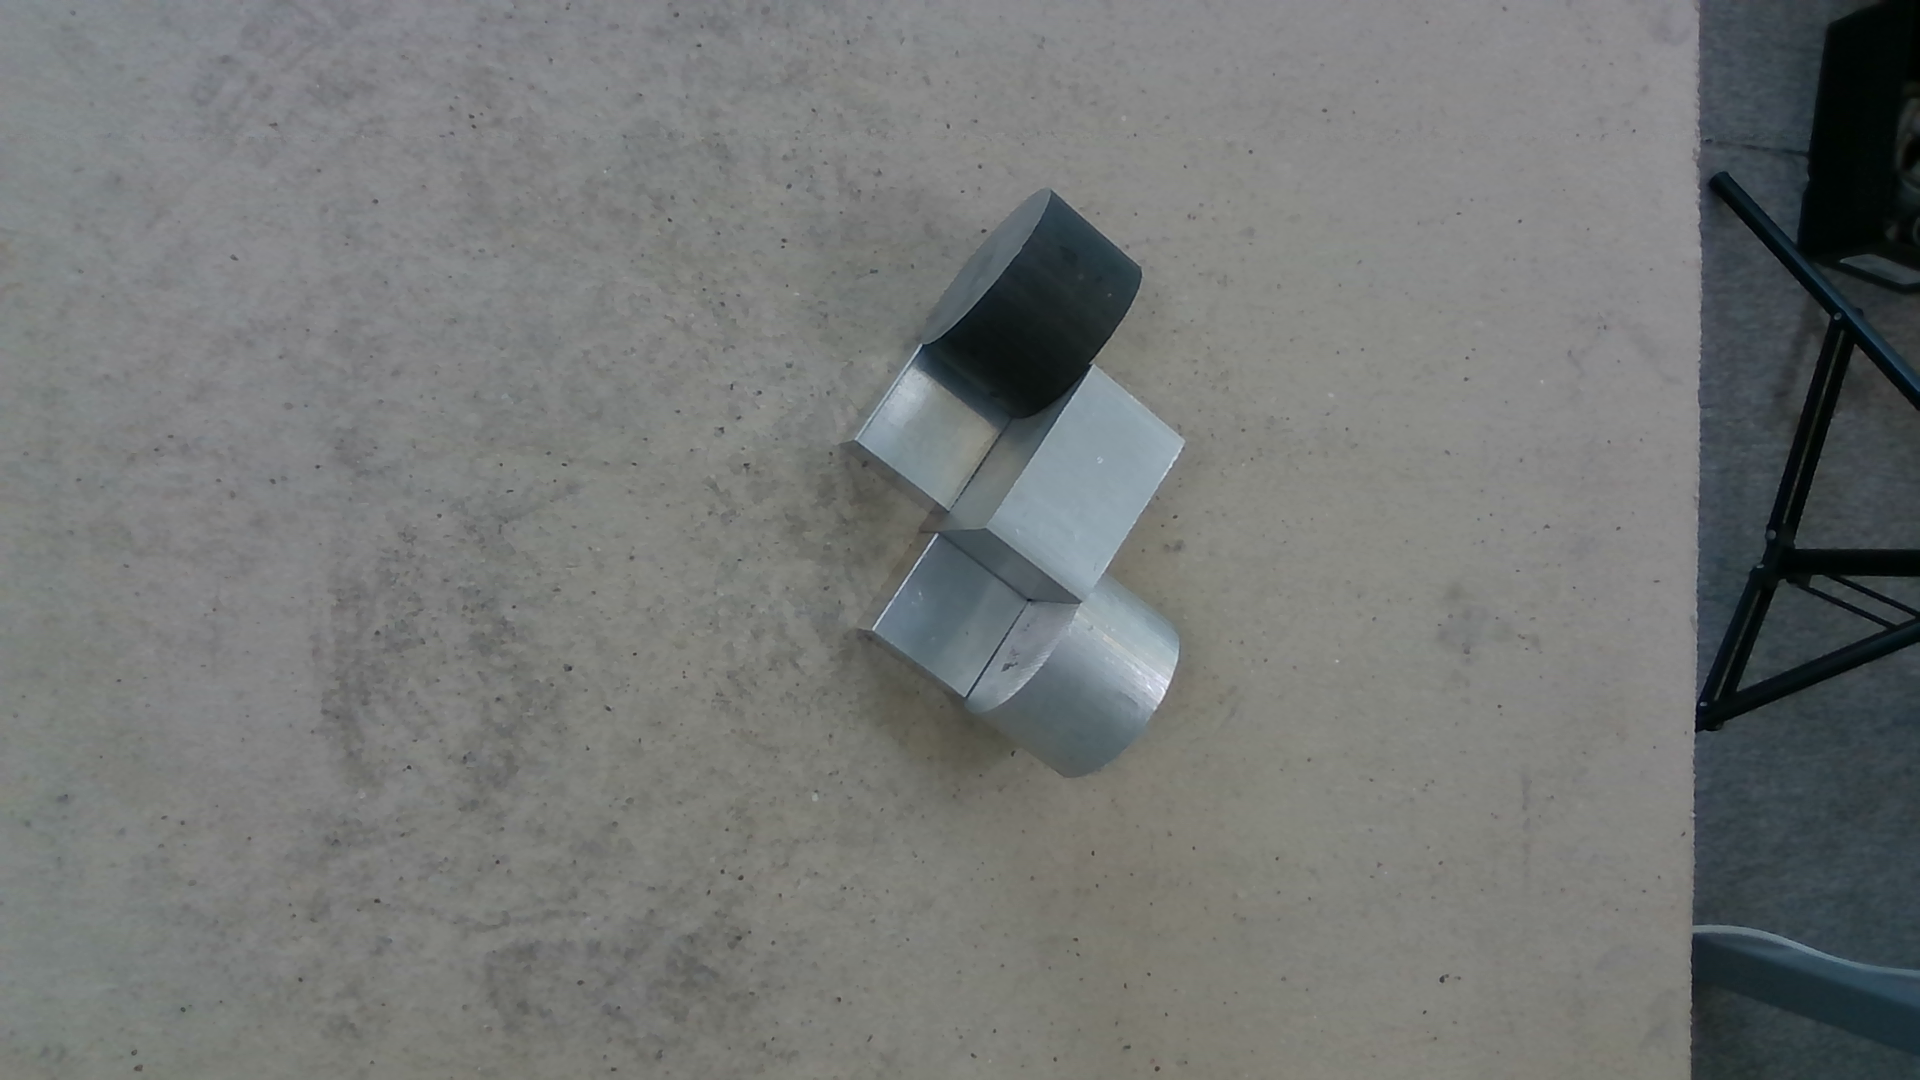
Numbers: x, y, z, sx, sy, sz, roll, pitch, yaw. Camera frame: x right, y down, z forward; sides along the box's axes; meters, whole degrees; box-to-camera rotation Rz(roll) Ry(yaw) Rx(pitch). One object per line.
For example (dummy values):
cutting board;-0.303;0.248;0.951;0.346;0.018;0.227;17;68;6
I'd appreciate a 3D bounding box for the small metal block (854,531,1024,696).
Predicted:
small metal block;-0.008;0.031;0.584;0.050;0.025;0.050;37;78;-17

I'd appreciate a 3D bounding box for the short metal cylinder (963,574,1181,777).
short metal cylinder;0.046;0.051;0.575;0.050;0.080;0.080;37;78;-16

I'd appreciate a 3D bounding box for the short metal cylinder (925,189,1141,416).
short metal cylinder;0.029;-0.097;0.568;0.050;0.080;0.080;37;78;-17

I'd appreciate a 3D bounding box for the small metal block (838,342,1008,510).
small metal block;-0.015;-0.047;0.582;0.050;0.025;0.050;37;78;-17

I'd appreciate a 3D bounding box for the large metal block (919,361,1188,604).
large metal block;0.036;-0.022;0.571;0.050;0.080;0.080;37;78;-17
